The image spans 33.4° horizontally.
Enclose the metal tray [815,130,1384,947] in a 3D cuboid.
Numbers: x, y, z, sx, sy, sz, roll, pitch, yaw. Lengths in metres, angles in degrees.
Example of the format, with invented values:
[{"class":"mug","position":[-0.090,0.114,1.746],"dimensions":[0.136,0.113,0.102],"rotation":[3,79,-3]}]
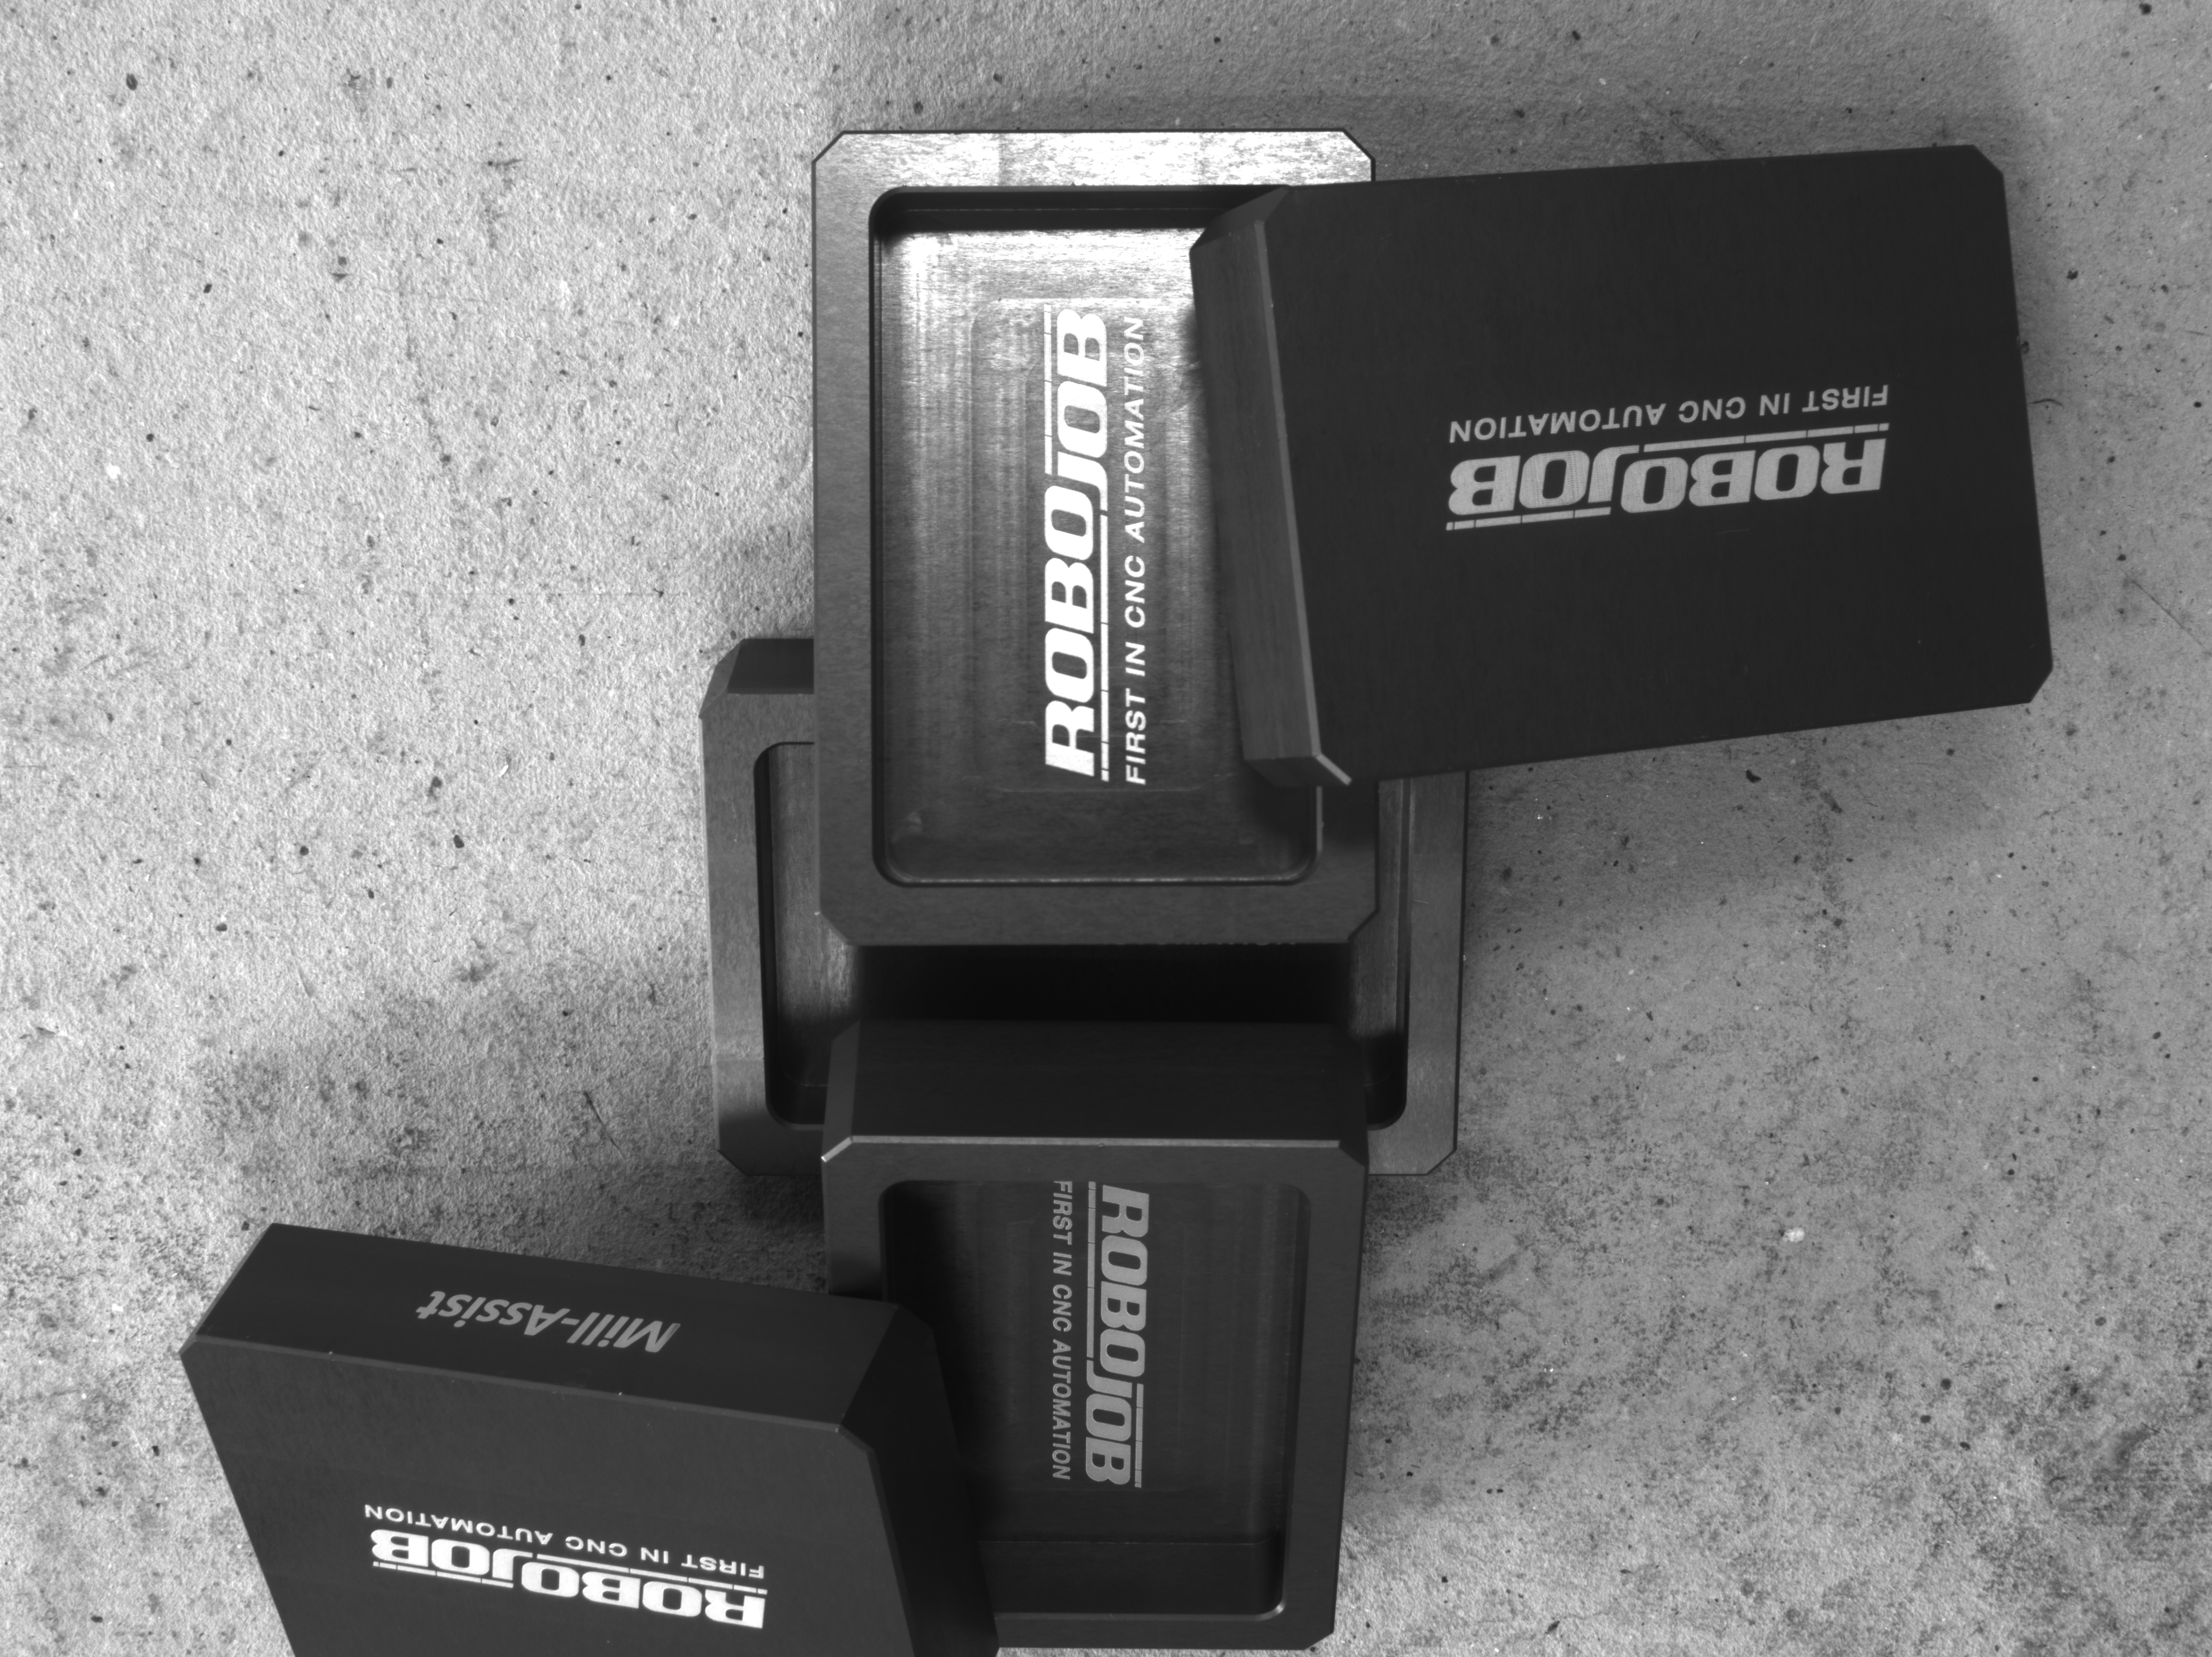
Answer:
[{"class":"metal tray","position":[-0.001,-0.046,0.603],"dimensions":[0.090,0.030,0.130],"rotation":[0,90,0]}]

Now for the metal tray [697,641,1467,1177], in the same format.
[{"class":"metal tray","position":[-0.004,0.014,0.647],"dimensions":[0.130,0.030,0.090],"rotation":[0,110,0]}]

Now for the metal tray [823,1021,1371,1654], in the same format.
[{"class":"metal tray","position":[-0.002,0.093,0.653],"dimensions":[0.090,0.030,0.130],"rotation":[1,129,0]}]

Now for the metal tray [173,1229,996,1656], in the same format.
[{"class":"metal tray","position":[-0.091,0.120,0.653],"dimensions":[0.130,0.030,0.090],"rotation":[4,128,17]}]

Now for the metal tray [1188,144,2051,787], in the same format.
[{"class":"metal tray","position":[0.083,-0.058,0.586],"dimensions":[0.130,0.030,0.090],"rotation":[-7,92,-19]}]
